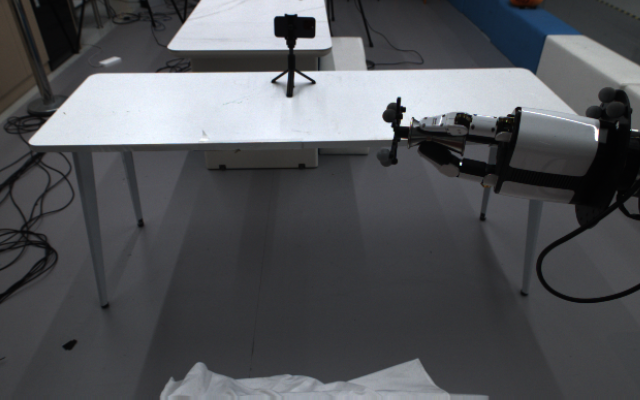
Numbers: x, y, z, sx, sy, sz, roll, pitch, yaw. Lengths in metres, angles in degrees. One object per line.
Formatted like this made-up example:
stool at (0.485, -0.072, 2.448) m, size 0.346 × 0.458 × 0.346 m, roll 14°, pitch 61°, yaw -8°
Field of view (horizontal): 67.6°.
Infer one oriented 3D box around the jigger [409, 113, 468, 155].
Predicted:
jigger at (0.153, -0.084, 0.604) m, size 0.071 × 0.043 × 0.043 m, roll 8°, pitch 35°, yaw 13°
